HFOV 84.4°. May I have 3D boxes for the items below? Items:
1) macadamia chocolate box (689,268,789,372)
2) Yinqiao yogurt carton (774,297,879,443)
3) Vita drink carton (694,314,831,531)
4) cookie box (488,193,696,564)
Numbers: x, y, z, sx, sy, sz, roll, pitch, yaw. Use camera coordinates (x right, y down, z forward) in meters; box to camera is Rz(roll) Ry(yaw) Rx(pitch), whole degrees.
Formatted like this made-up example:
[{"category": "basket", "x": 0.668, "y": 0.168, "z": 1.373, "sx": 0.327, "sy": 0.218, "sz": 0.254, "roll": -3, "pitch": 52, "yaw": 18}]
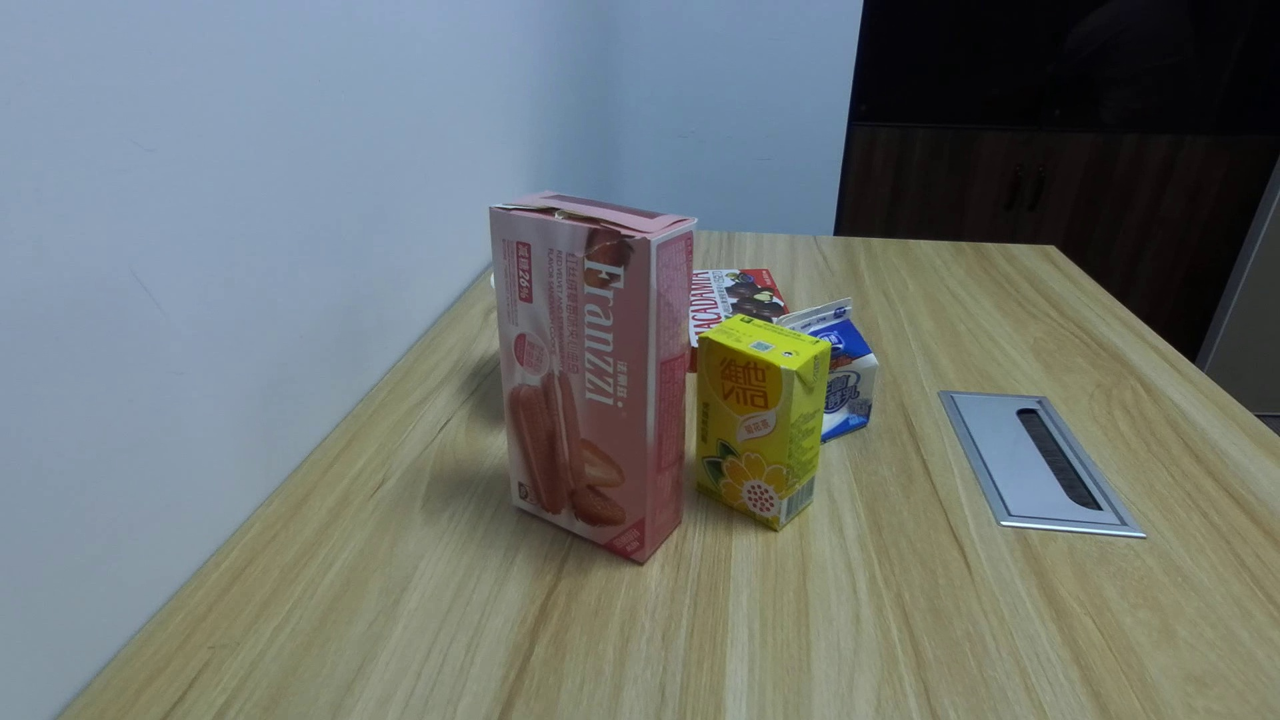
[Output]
[{"category": "macadamia chocolate box", "x": 0.087, "y": -0.040, "z": 0.656, "sx": 0.095, "sy": 0.027, "sz": 0.177, "roll": -2, "pitch": 27, "yaw": 2}, {"category": "Yinqiao yogurt carton", "x": 0.118, "y": 0.003, "z": 0.499, "sx": 0.078, "sy": 0.094, "sz": 0.070, "roll": -17, "pitch": 37, "yaw": -25}, {"category": "Vita drink carton", "x": 0.069, "y": 0.036, "z": 0.417, "sx": 0.066, "sy": 0.109, "sz": 0.044, "roll": 22, "pitch": 35, "yaw": 36}, {"category": "cookie box", "x": -0.021, "y": 0.010, "z": 0.383, "sx": 0.104, "sy": 0.187, "sz": 0.049, "roll": 15, "pitch": 29, "yaw": 29}]
